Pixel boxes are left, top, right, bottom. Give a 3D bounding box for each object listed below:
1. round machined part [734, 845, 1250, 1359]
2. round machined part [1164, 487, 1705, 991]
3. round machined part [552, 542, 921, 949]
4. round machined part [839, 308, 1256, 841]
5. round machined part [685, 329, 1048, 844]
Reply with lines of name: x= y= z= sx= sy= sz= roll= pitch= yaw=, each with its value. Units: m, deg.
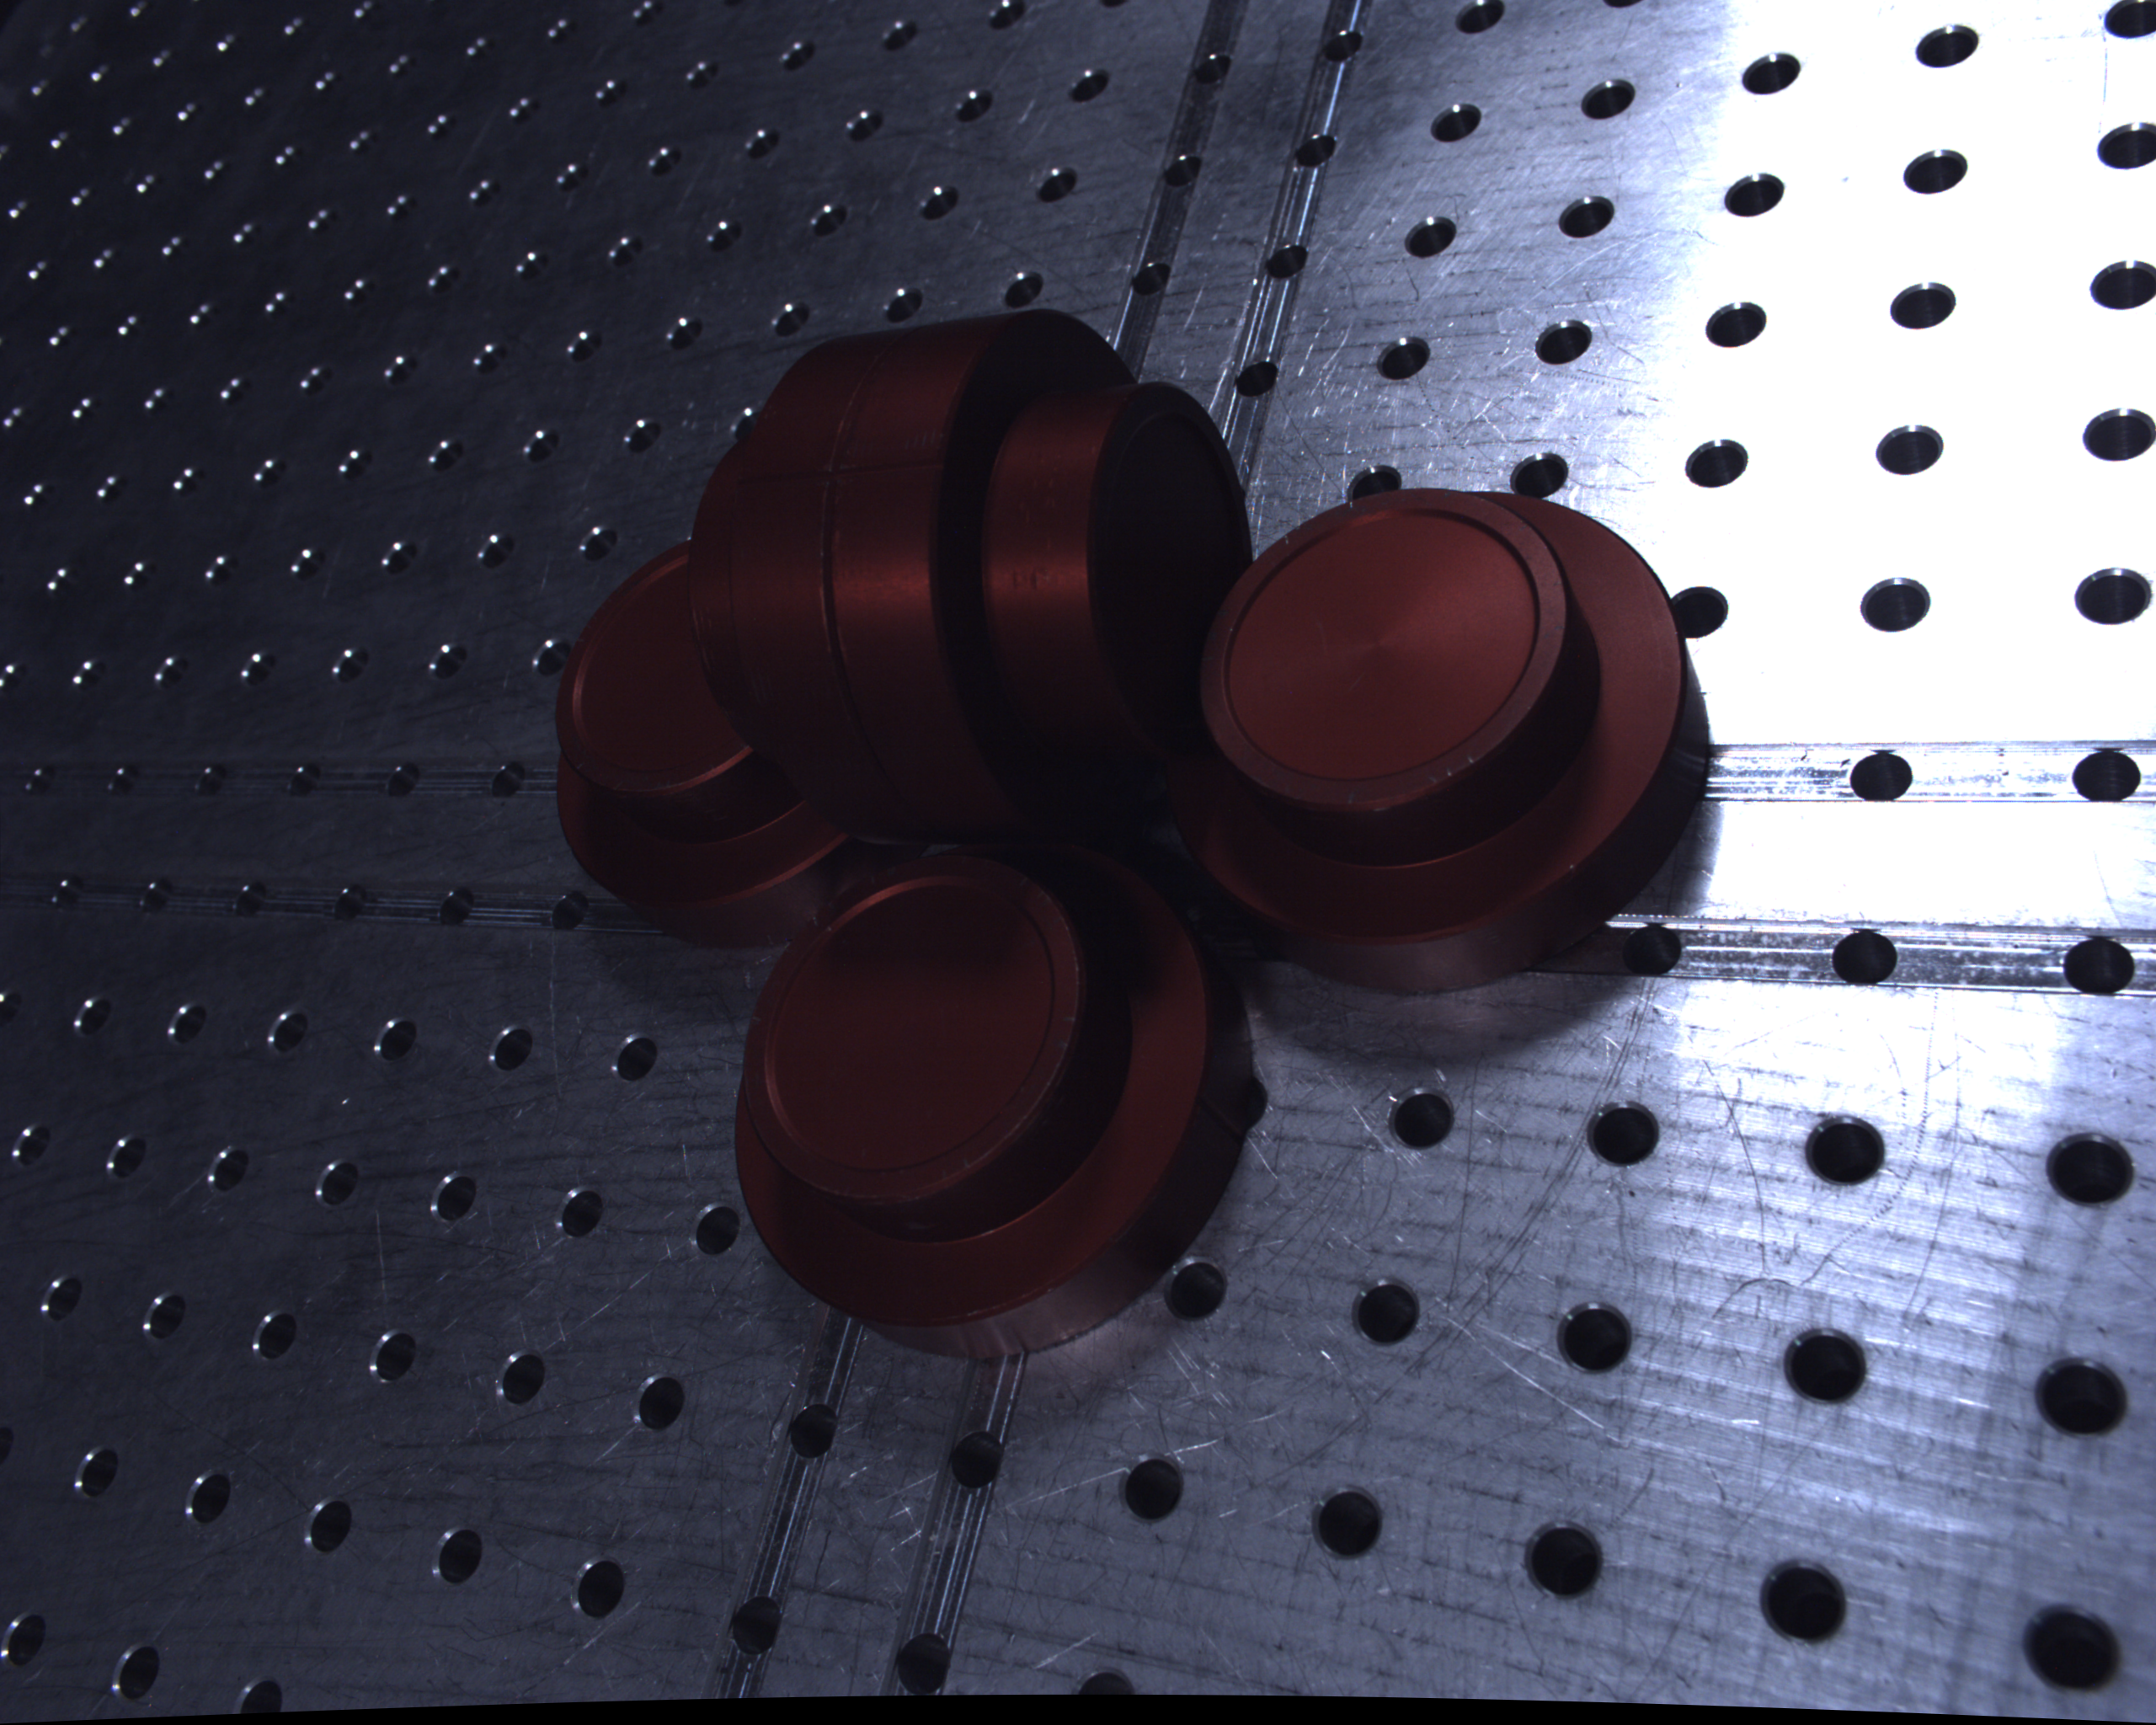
round machined part: x=-0.022 y=0.038 z=0.384 sx=0.098 sy=0.042 sz=0.098 roll=-13 pitch=56 yaw=20
round machined part: x=0.061 y=-0.029 z=0.381 sx=0.098 sy=0.042 sz=0.098 roll=-13 pitch=56 yaw=20
round machined part: x=-0.074 y=-0.034 z=0.455 sx=0.098 sy=0.042 sz=0.098 roll=-13 pitch=56 yaw=20
round machined part: x=0.001 y=-0.053 z=0.385 sx=0.042 sy=0.098 sz=0.098 roll=-1 pitch=62 yaw=28
round machined part: x=-0.038 y=-0.053 z=0.404 sx=0.042 sy=0.098 sz=0.098 roll=1 pitch=62 yaw=29
